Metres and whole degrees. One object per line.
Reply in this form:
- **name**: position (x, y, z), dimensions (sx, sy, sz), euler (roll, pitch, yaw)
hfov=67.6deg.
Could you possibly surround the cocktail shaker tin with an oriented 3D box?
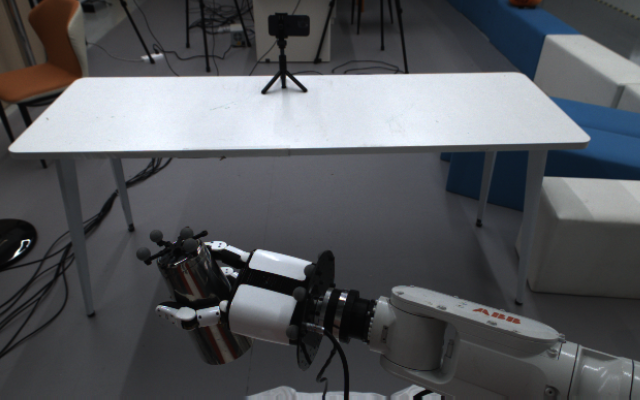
- **cocktail shaker tin**: position (-0.162, 0.140, 0.678), dimensions (0.093, 0.170, 0.093), euler (-15, 27, 8)
